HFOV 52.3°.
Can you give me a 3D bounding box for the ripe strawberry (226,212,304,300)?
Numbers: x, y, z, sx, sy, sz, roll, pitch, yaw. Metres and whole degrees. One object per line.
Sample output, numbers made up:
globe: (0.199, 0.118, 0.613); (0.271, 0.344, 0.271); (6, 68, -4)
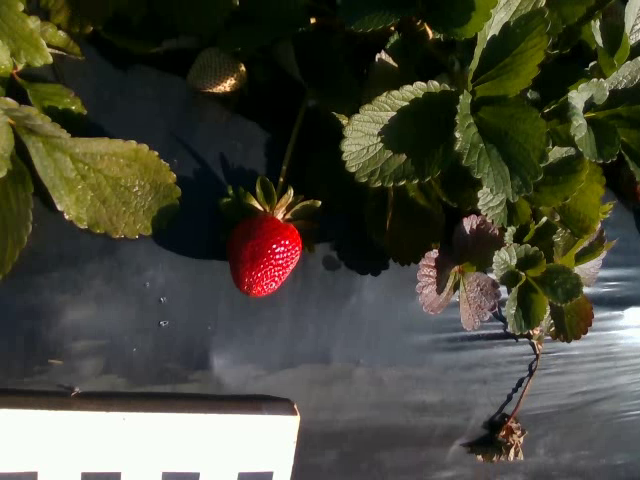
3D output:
ripe strawberry: (-0.031, 0.012, 0.327); (0.043, 0.050, 0.042); (-22, -54, 42)
